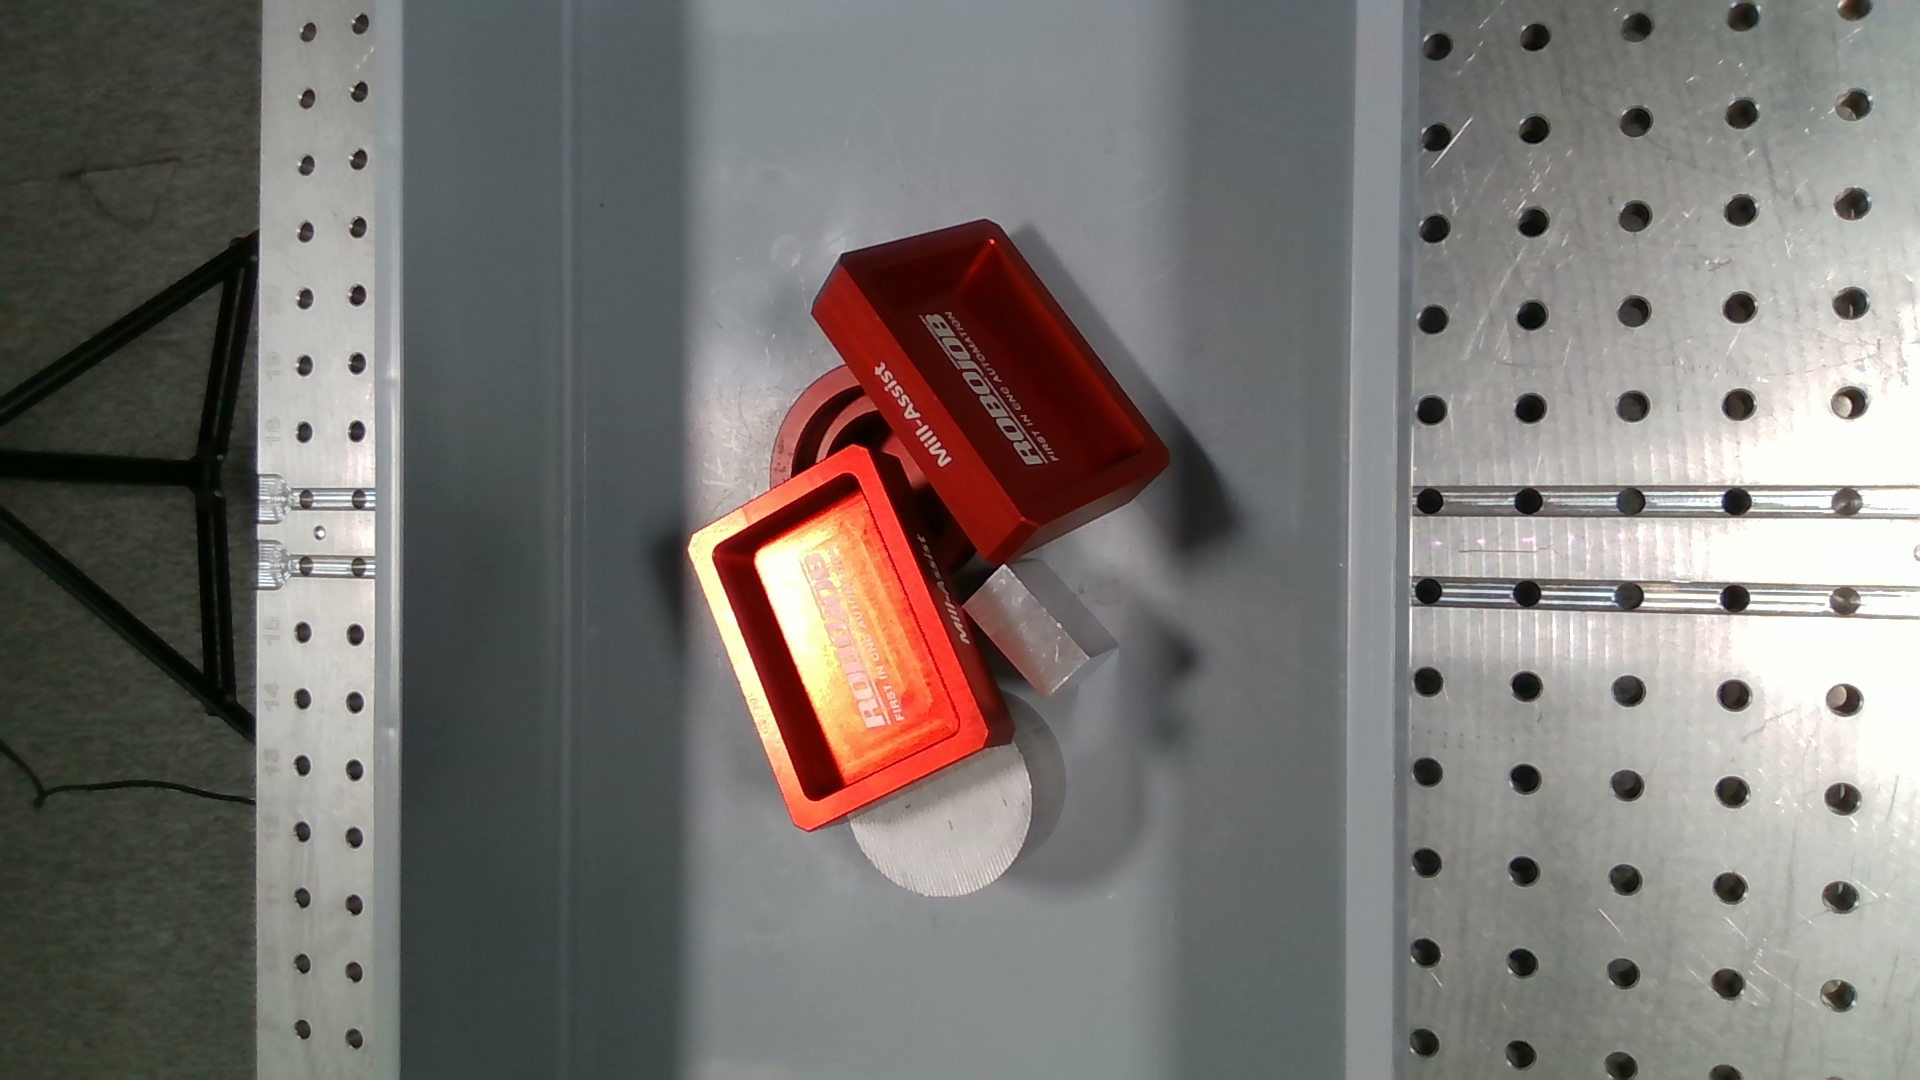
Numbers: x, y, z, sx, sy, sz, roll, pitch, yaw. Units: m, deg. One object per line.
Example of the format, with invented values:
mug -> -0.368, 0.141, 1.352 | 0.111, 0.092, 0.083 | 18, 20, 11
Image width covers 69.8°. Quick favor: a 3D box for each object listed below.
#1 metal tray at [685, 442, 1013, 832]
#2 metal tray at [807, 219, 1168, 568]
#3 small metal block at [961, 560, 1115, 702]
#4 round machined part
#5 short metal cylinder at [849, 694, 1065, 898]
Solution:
metal tray -> -0.046, 0.038, 0.548 | 0.090, 0.030, 0.130 | -28, 77, 17
metal tray -> 0.012, -0.061, 0.543 | 0.130, 0.090, 0.030 | 55, 138, 11
small metal block -> 0.033, 0.035, 0.559 | 0.025, 0.050, 0.050 | -45, 78, 15
round machined part -> -0.028, -0.027, 0.587 | 0.098, 0.042, 0.098 | 0, 91, 20
short metal cylinder -> -0.002, 0.102, 0.572 | 0.080, 0.050, 0.080 | 0, 90, 20
